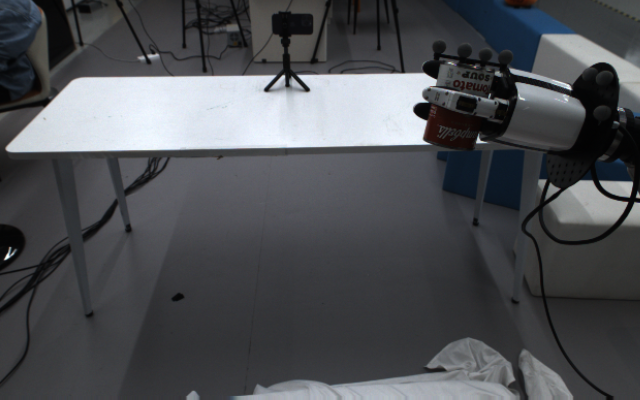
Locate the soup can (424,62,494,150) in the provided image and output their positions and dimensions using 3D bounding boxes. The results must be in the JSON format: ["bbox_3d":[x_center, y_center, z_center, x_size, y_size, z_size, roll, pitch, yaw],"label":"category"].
[{"bbox_3d":[0.176,-0.121,0.613,0.067,0.101,0.067,9,19,-3],"label":"soup can"}]
